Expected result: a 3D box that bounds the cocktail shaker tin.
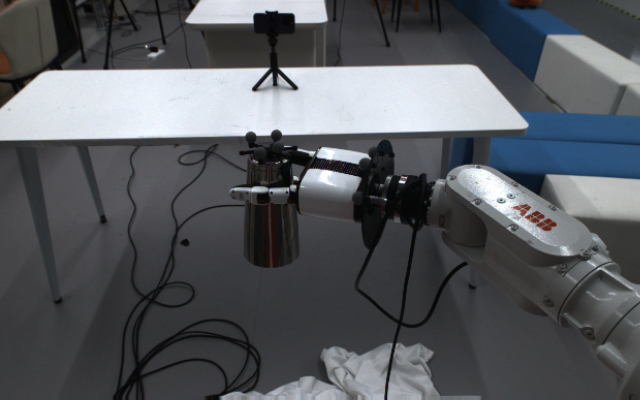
[{"bbox_3d":[-0.076,0.007,0.761,0.093,0.170,0.093,1,27,-1],"label":"cocktail shaker tin"}]
